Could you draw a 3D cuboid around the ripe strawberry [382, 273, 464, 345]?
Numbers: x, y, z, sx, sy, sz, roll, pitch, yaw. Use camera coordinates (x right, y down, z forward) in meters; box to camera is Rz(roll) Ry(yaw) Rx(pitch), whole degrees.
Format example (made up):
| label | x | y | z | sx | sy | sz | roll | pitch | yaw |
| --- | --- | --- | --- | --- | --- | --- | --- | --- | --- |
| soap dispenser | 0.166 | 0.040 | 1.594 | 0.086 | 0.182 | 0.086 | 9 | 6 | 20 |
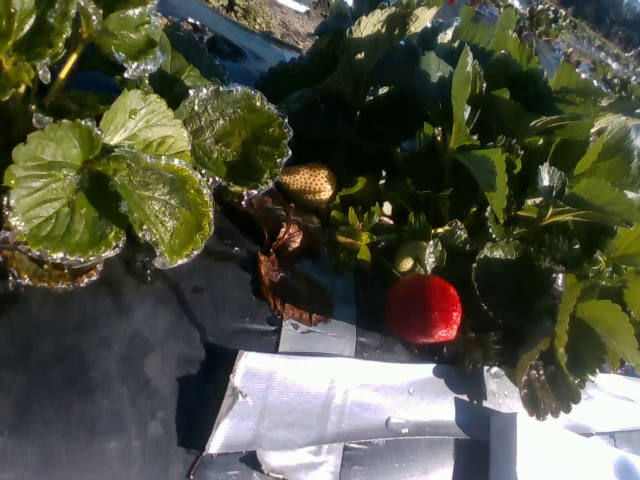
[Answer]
| label | x | y | z | sx | sy | sz | roll | pitch | yaw |
| --- | --- | --- | --- | --- | --- | --- | --- | --- | --- |
| ripe strawberry | 0.071 | 0.052 | 0.374 | 0.058 | 0.062 | 0.065 | -34 | 13 | 4 |
